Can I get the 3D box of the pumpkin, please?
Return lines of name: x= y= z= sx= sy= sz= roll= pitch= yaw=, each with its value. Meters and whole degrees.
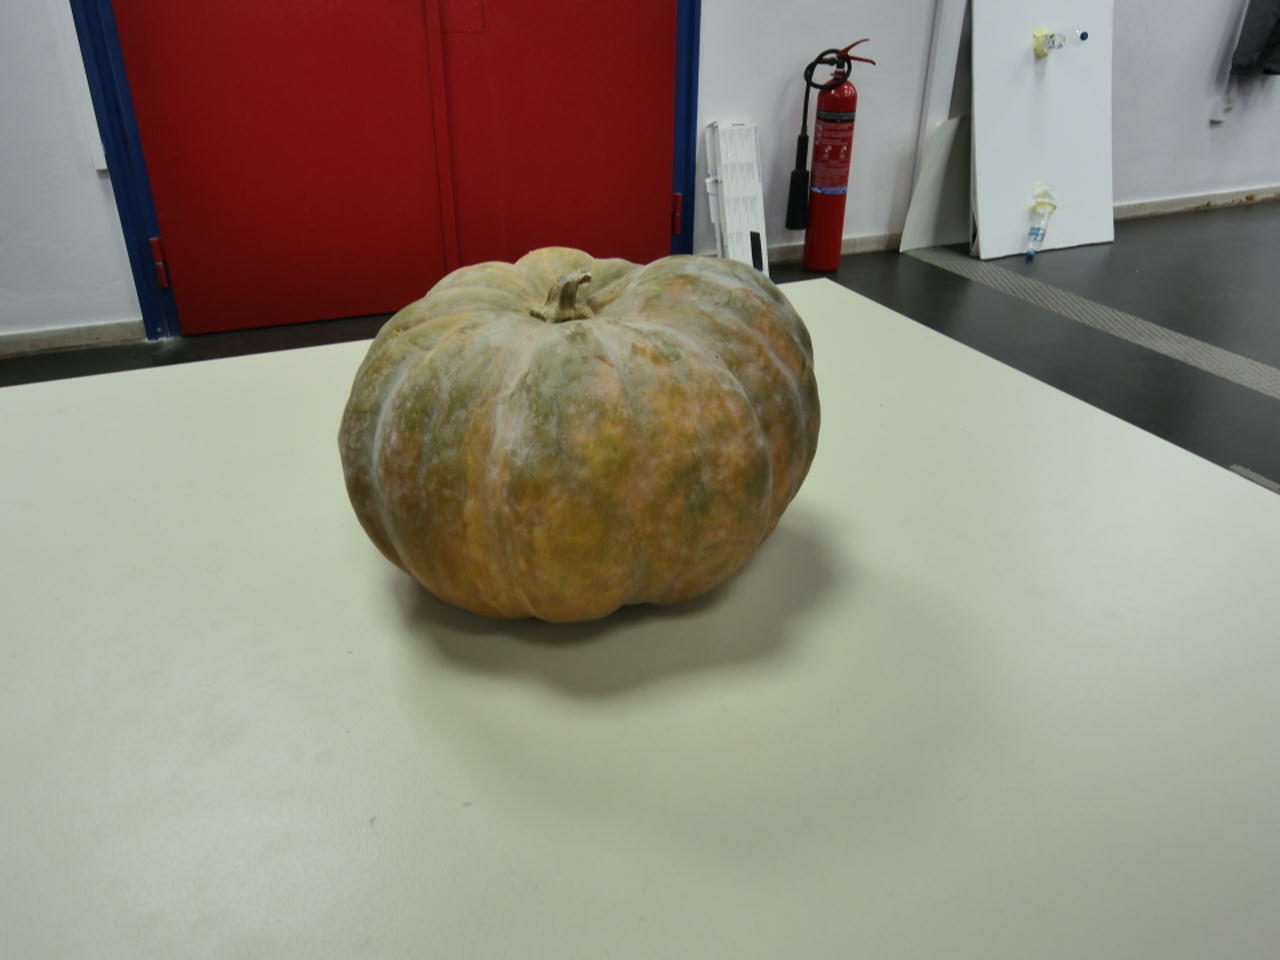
pumpkin: x=-0.034 y=-0.030 z=0.530 sx=0.252 sy=0.169 sz=0.251 roll=0 pitch=26 yaw=0
